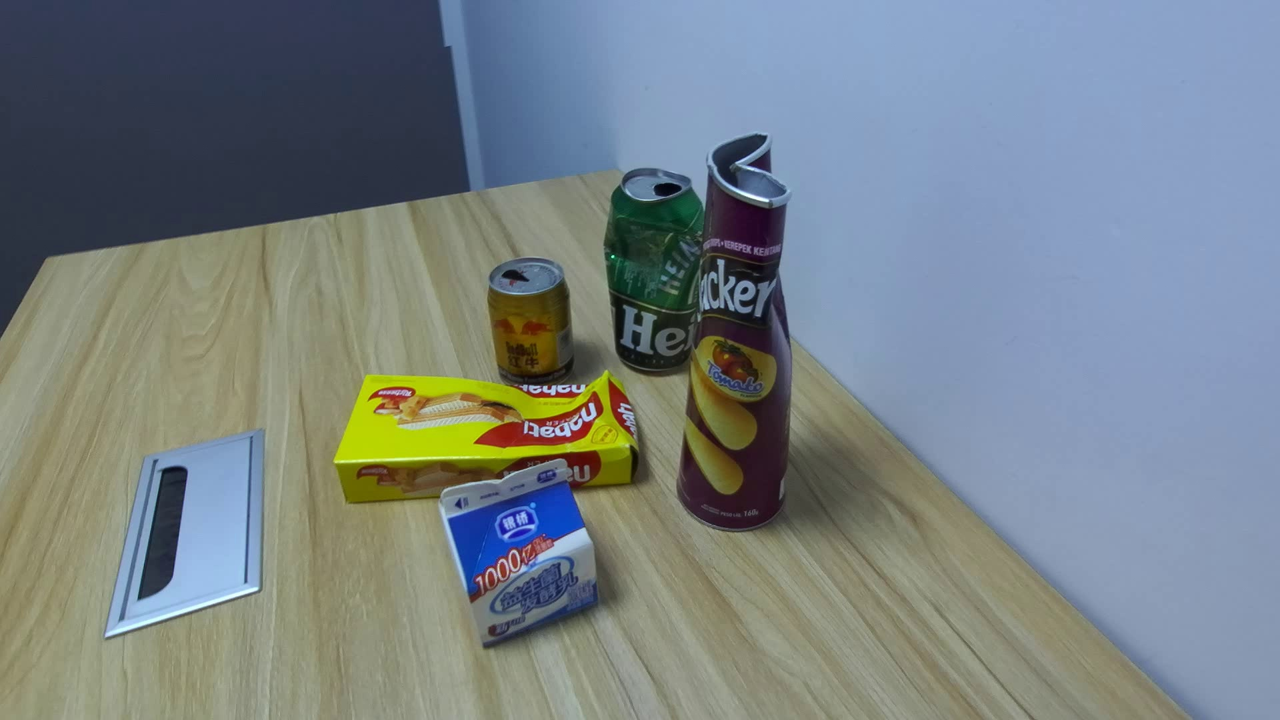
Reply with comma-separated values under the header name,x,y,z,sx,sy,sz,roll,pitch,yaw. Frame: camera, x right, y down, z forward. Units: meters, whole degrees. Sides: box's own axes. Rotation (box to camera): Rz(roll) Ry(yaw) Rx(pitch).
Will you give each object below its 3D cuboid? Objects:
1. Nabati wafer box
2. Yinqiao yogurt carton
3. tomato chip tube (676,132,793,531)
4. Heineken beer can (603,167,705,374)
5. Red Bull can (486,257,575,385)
name,x,y,z,sx,sy,sz,roll,pitch,yaw
Nabati wafer box,-0.105,0.049,0.520,0.204,0.042,0.106,-2,37,-4
Yinqiao yogurt carton,-0.072,0.098,0.408,0.076,0.092,0.073,-15,38,-20
tomato chip tube,0.065,-0.005,0.422,0.078,0.235,0.076,-28,44,-32
Heineken beer can,0.011,-0.069,0.580,0.066,0.164,0.077,-9,36,-13
Red Bull can,-0.089,-0.029,0.584,0.067,0.093,0.067,-1,36,1
